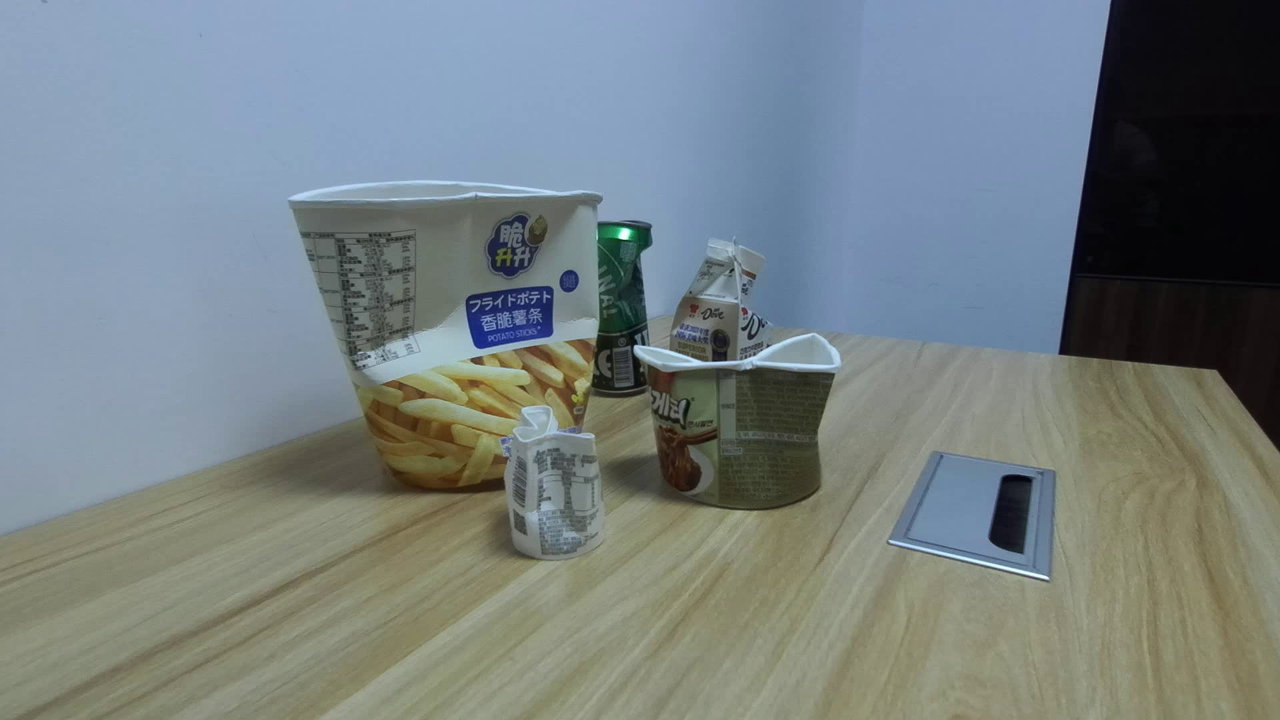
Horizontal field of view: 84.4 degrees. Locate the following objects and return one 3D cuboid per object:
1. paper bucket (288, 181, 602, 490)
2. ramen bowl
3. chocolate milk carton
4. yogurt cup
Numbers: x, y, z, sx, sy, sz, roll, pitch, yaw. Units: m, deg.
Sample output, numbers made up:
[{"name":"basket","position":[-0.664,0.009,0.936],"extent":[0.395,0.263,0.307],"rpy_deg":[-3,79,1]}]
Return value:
[{"name":"paper bucket","position":[-0.115,-0.026,0.512],"extent":[0.147,0.199,0.218],"rpy_deg":[4,16,11]},{"name":"ramen bowl","position":[0.063,0.035,0.478],"extent":[0.128,0.093,0.111],"rpy_deg":[0,15,2]},{"name":"chocolate milk carton","position":[0.075,-0.031,0.613],"extent":[0.073,0.155,0.076],"rpy_deg":[13,19,36]},{"name":"yogurt cup","position":[-0.049,0.068,0.397],"extent":[0.055,0.072,0.055],"rpy_deg":[-3,16,-2]}]
